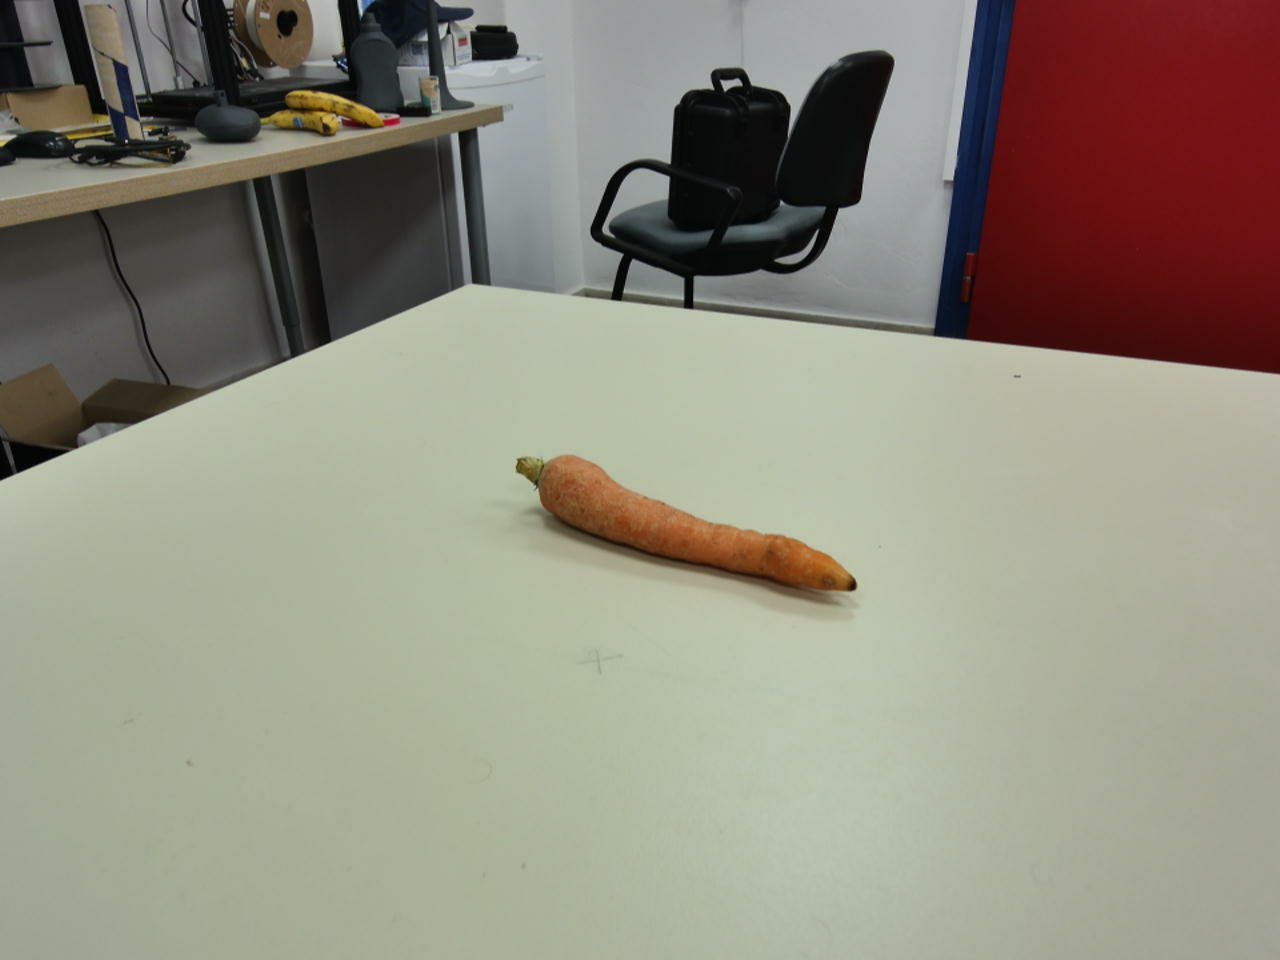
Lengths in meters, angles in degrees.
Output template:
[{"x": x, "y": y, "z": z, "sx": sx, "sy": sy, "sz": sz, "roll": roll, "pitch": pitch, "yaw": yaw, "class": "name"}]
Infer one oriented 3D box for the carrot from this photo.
[{"x": 0.015, "y": 0.018, "z": 0.440, "sx": 0.173, "sy": 0.032, "sz": 0.030, "roll": 16, "pitch": 28, "yaw": 32, "class": "carrot"}]
